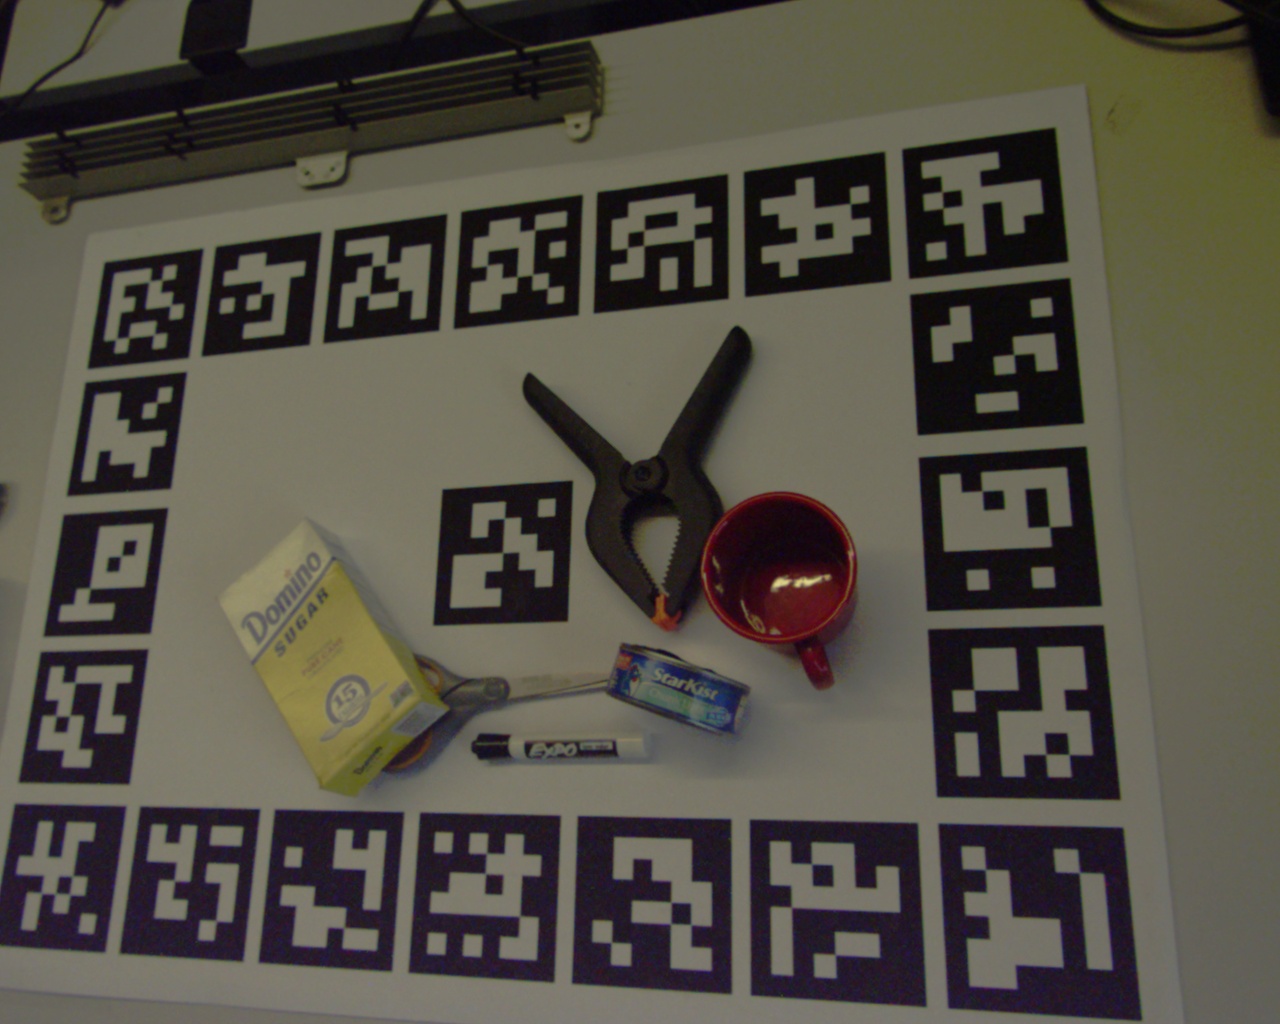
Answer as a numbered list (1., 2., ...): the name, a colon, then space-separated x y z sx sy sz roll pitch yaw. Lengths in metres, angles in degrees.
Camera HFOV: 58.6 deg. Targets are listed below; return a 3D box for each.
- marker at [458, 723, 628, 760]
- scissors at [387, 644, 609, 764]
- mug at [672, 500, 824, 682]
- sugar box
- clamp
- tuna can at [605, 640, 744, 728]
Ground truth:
1. marker: -0.069 0.159 0.790 0.122 0.019 0.020 -7 75 15
2. scissors: -0.113 0.121 0.812 0.204 0.016 0.088 -14 68 11
3. mug: 0.081 0.058 0.743 0.093 0.080 0.118 -30 66 6
4. sugar box: -0.221 0.102 0.832 0.093 0.045 0.178 -39 62 3
5. clamp: 0.001 -0.017 0.819 0.166 0.036 0.203 -14 73 12
6. tuna can: 0.021 0.112 0.741 0.086 0.085 0.034 14 79 19
